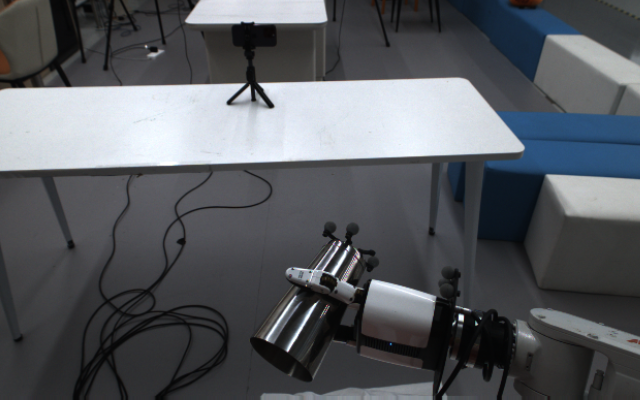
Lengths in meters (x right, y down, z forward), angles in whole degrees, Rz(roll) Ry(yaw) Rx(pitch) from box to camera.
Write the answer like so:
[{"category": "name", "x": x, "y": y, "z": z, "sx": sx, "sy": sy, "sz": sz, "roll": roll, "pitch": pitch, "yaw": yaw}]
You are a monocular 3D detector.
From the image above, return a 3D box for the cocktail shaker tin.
[{"category": "cocktail shaker tin", "x": -0.004, "y": 0.132, "z": 0.630, "sx": 0.093, "sy": 0.093, "sz": 0.170, "roll": 19, "pitch": 54, "yaw": 23}]
